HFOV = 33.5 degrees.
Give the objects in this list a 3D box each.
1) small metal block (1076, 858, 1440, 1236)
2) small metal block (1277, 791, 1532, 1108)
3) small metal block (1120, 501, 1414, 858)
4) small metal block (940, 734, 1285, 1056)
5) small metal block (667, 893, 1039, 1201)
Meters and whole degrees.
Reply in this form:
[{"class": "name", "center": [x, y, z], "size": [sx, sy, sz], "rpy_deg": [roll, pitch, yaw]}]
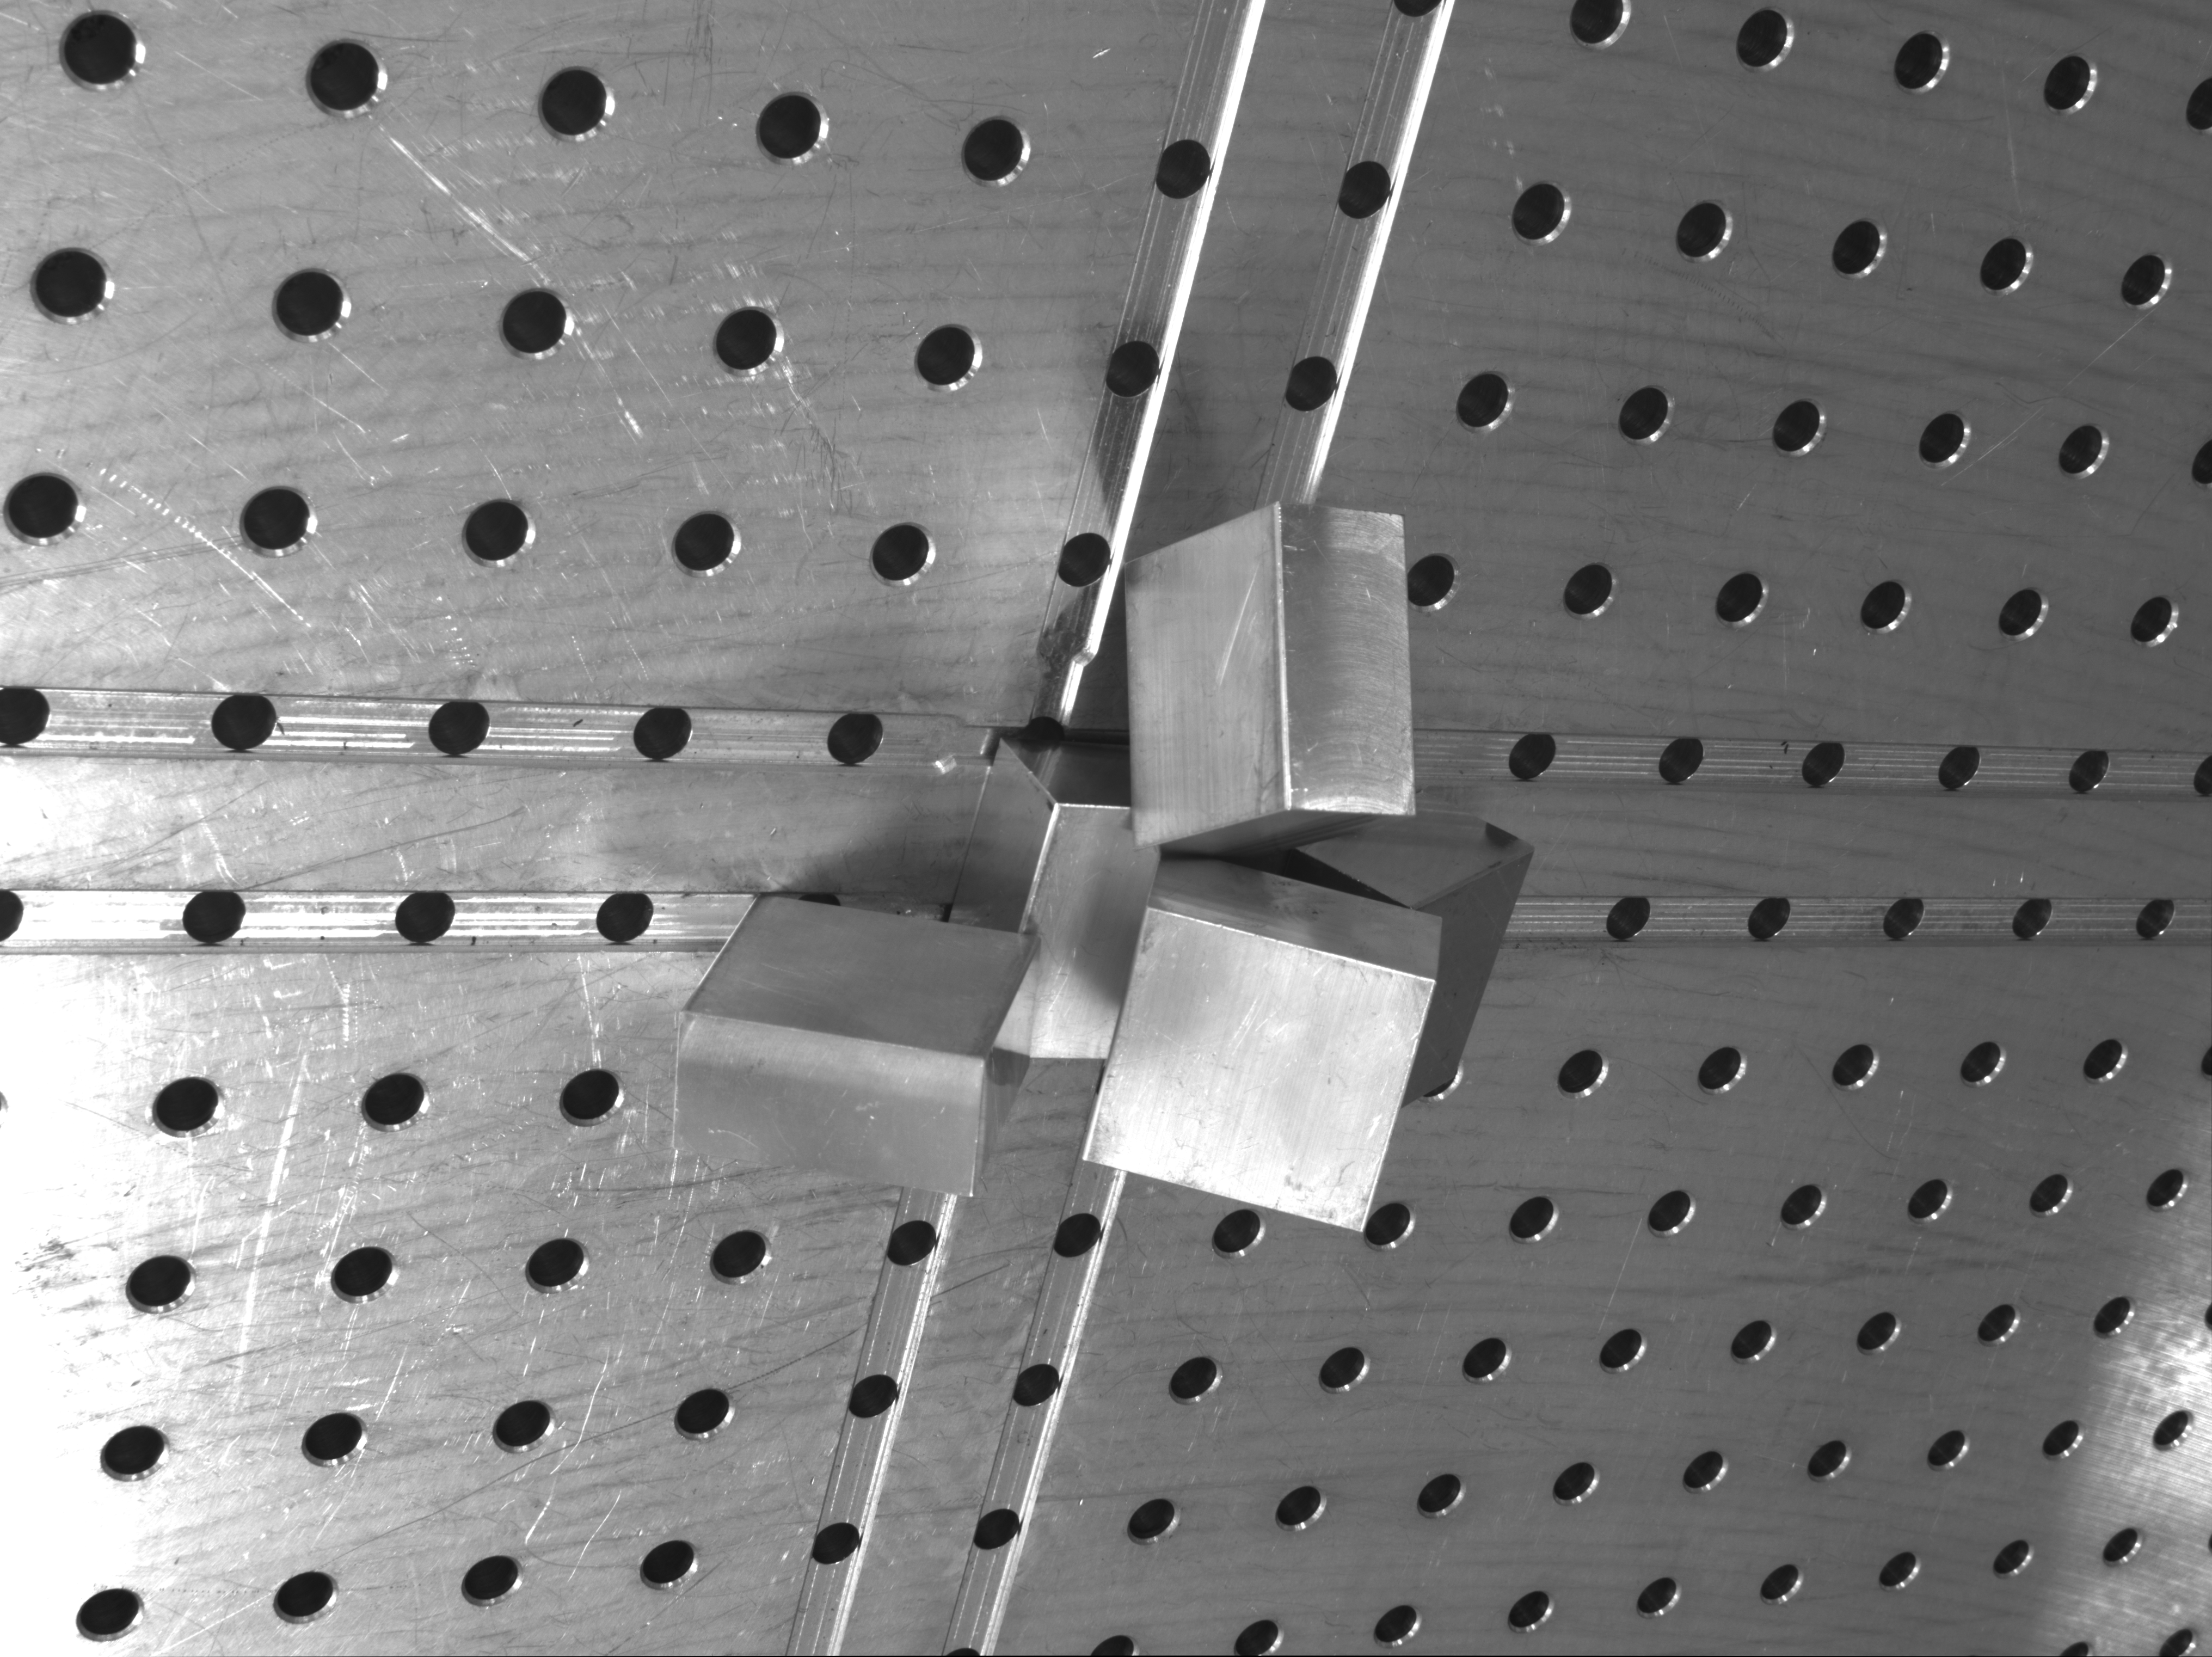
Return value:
[{"class": "small metal block", "center": [0.026, 0.036, 0.630], "size": [0.050, 0.025, 0.050], "rpy_deg": [14, 115, 2]}, {"class": "small metal block", "center": [0.048, 0.025, 0.668], "size": [0.050, 0.025, 0.050], "rpy_deg": [-21, 133, -55]}, {"class": "small metal block", "center": [0.026, -0.024, 0.611], "size": [0.025, 0.050, 0.050], "rpy_deg": [3, 81, -29]}, {"class": "small metal block", "center": [0.001, 0.012, 0.649], "size": [0.050, 0.025, 0.050], "rpy_deg": [2, 117, -29]}, {"class": "small metal block", "center": [-0.041, 0.035, 0.611], "size": [0.050, 0.050, 0.025], "rpy_deg": [9, 112, 6]}]
